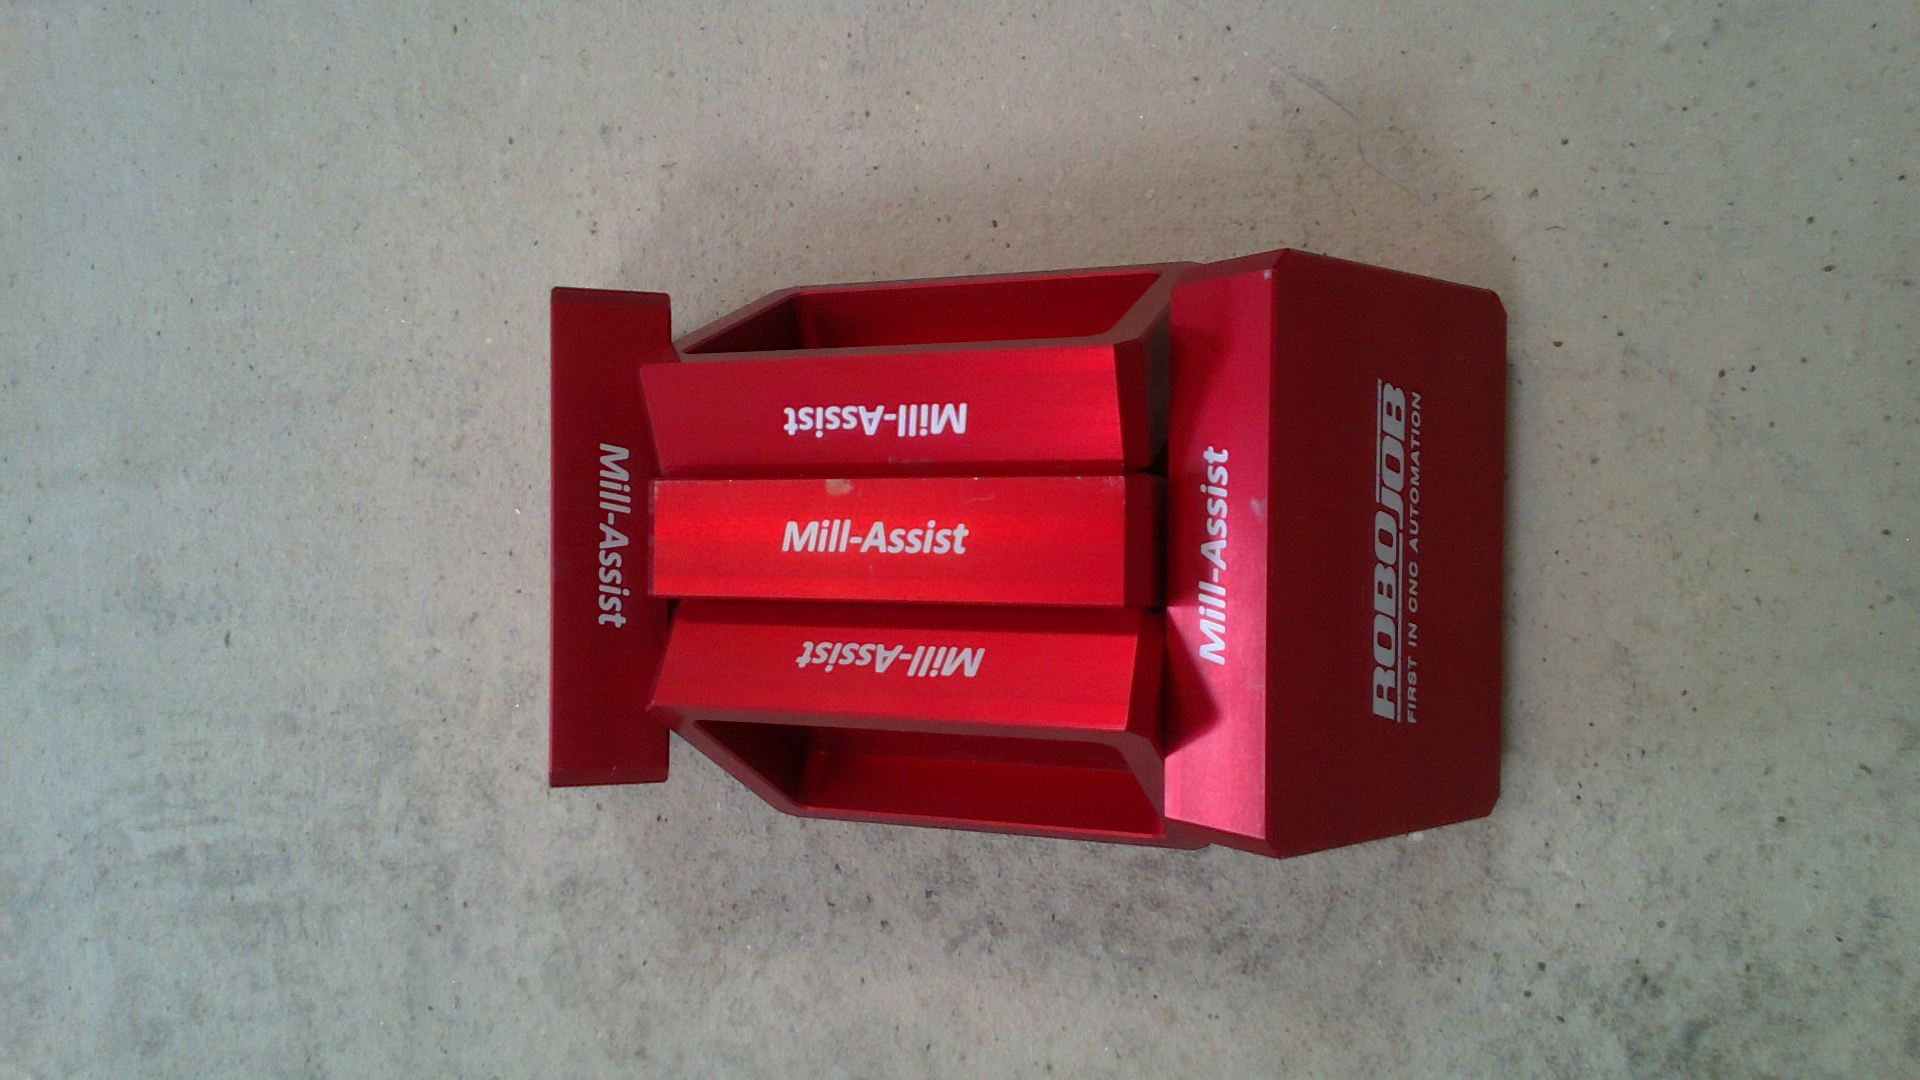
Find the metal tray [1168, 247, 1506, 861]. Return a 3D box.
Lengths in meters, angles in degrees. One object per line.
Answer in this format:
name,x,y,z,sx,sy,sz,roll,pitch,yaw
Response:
metal tray,0.092,0.003,0.327,0.030,0.090,0.130,1,90,52

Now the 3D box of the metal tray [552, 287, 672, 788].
metal tray,-0.102,-0.001,0.399,0.030,0.090,0.130,0,90,-16

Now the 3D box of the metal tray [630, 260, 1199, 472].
metal tray,-0.007,-0.046,0.361,0.130,0.090,0.030,0,112,20

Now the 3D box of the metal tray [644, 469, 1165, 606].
metal tray,-0.005,-0.001,0.363,0.130,0.090,0.030,0,90,20

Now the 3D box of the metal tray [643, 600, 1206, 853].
metal tray,-0.004,0.050,0.362,0.130,0.090,0.030,1,61,20
